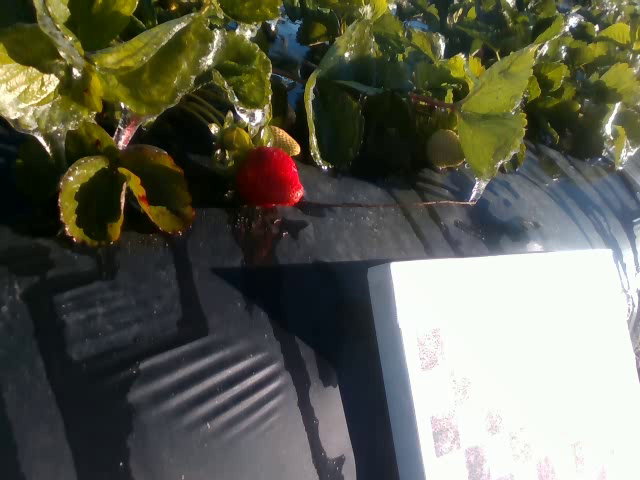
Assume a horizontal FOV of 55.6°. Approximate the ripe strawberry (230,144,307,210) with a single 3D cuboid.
[{"bbox_3d":[-0.017,-0.025,0.270,0.039,0.040,0.039,-15,24,-31],"label":"ripe strawberry"}]
